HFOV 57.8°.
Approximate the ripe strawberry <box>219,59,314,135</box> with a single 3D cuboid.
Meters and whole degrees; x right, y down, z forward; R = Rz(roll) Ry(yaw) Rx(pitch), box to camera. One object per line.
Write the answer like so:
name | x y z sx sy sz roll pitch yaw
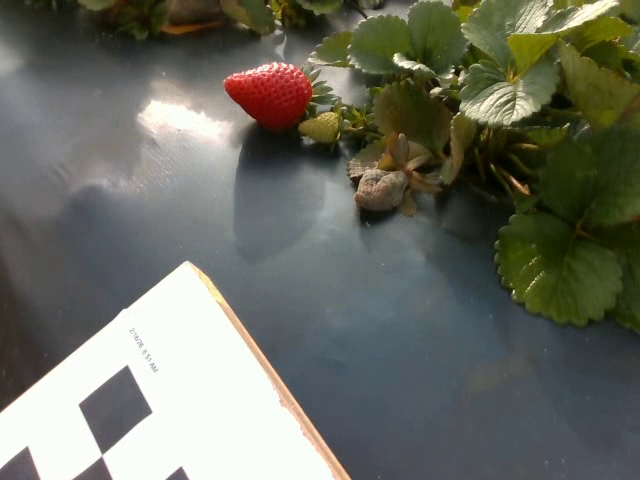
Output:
ripe strawberry | -0.032 -0.084 0.325 0.057 0.051 0.045 -6 47 -41
